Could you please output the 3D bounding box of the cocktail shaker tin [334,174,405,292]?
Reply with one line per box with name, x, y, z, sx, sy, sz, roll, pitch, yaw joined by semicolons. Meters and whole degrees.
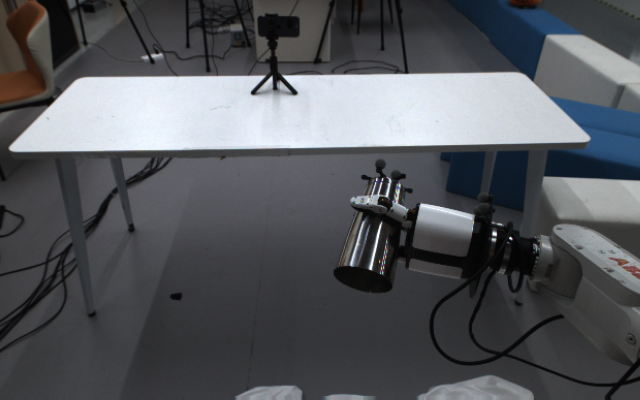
cocktail shaker tin;0.088;0.049;0.762;0.093;0.093;0.170;11;59;12
